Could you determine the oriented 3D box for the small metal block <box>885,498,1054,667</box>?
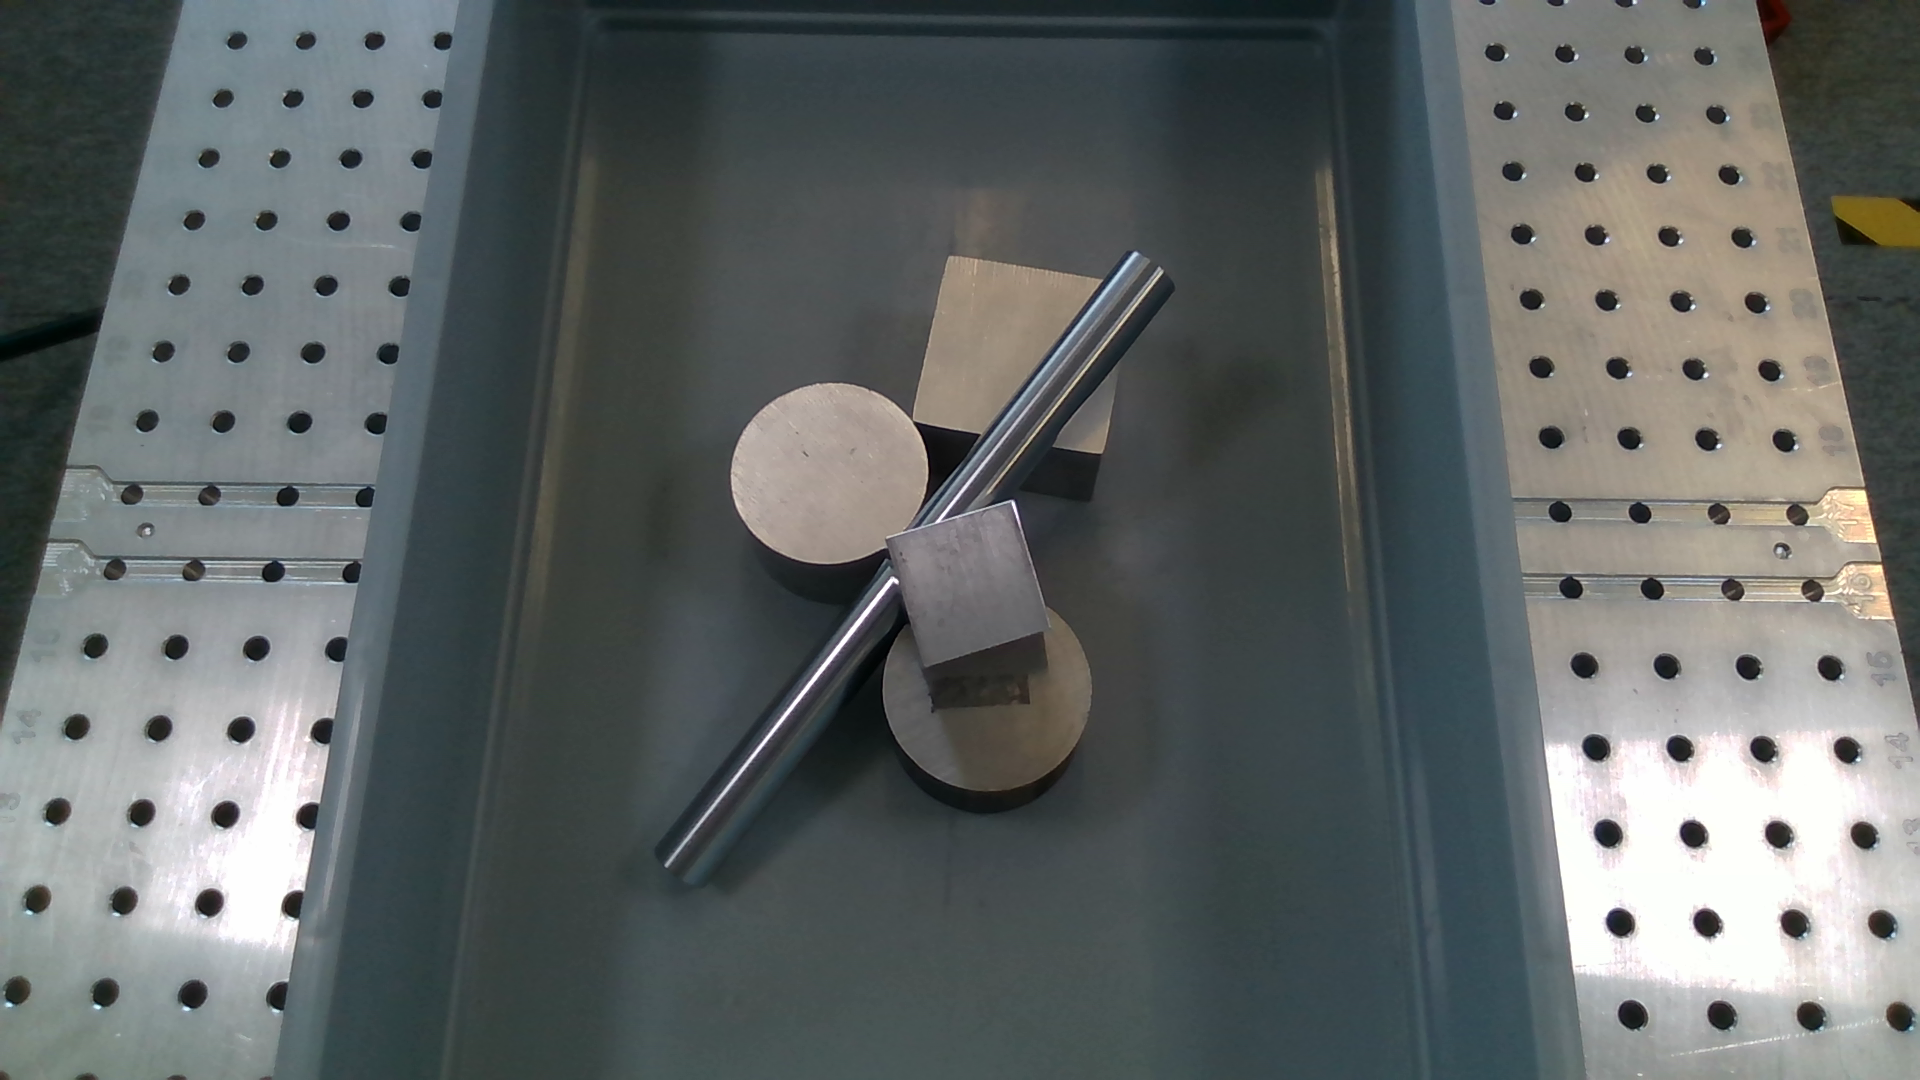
[{"bbox_3d":[0.002,0.016,0.521,0.050,0.025,0.050,-17,89,-6],"label":"small metal block"}]

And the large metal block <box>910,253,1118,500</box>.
[{"bbox_3d":[0.026,-0.070,0.597,0.080,0.050,0.080,10,71,4],"label":"large metal block"}]

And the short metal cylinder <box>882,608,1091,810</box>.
[{"bbox_3d":[0.010,0.065,0.551,0.080,0.050,0.080,0,70,0],"label":"short metal cylinder"}]

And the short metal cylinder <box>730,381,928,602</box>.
[{"bbox_3d":[-0.053,-0.020,0.581,0.080,0.050,0.080,0,70,0],"label":"short metal cylinder"}]

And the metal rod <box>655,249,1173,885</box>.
[{"bbox_3d":[-0.018,0.010,0.546,0.025,0.025,0.300,38,89,12],"label":"metal rod"}]
